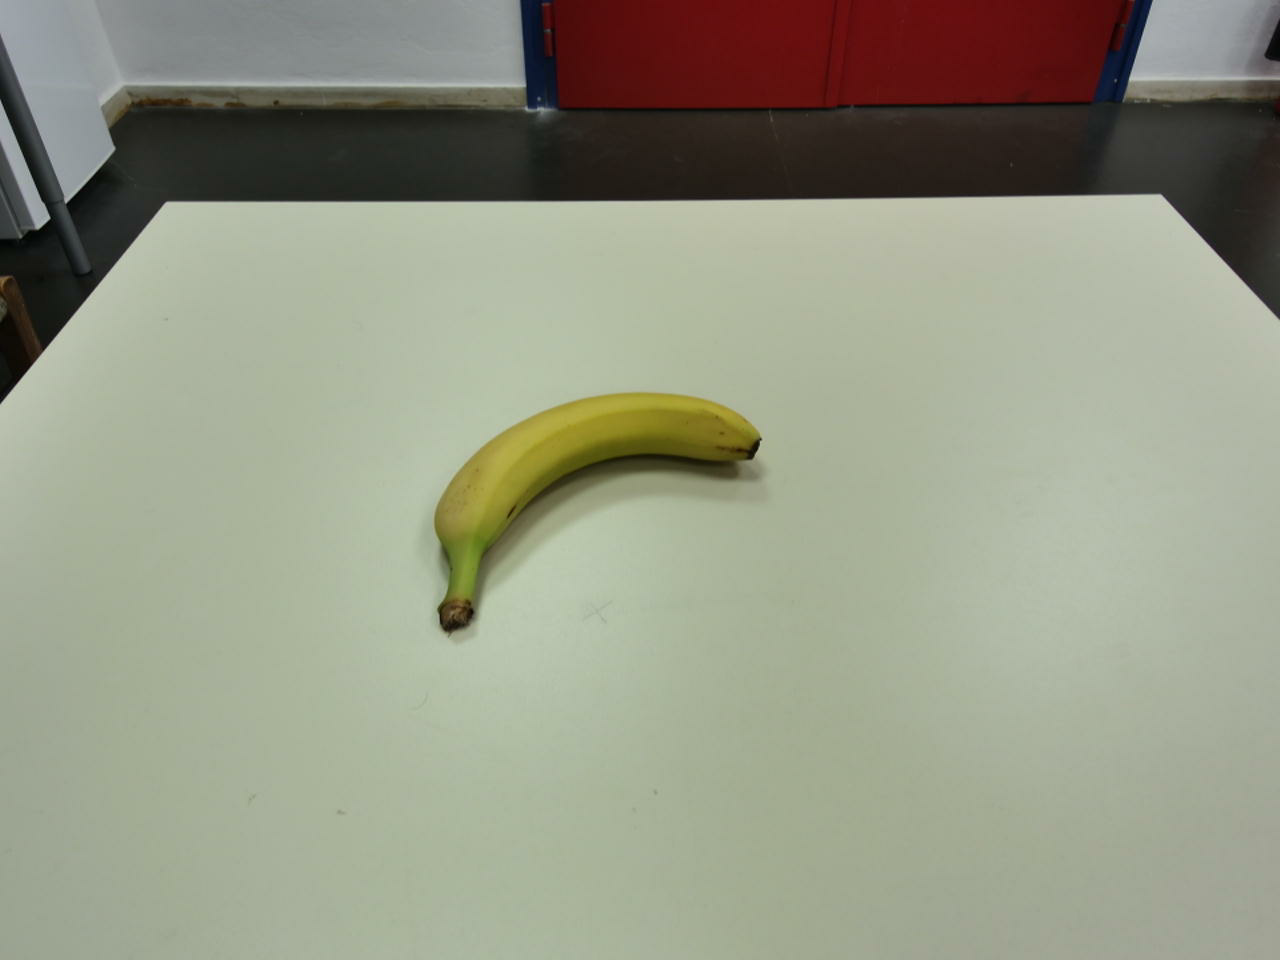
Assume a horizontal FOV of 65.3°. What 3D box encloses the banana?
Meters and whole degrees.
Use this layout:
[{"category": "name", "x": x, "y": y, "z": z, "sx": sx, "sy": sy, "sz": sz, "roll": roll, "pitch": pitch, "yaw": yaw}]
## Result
[{"category": "banana", "x": -0.036, "y": -0.003, "z": 0.522, "sx": 0.196, "sy": 0.041, "sz": 0.094, "roll": -25, "pitch": 45, "yaw": -27}]
